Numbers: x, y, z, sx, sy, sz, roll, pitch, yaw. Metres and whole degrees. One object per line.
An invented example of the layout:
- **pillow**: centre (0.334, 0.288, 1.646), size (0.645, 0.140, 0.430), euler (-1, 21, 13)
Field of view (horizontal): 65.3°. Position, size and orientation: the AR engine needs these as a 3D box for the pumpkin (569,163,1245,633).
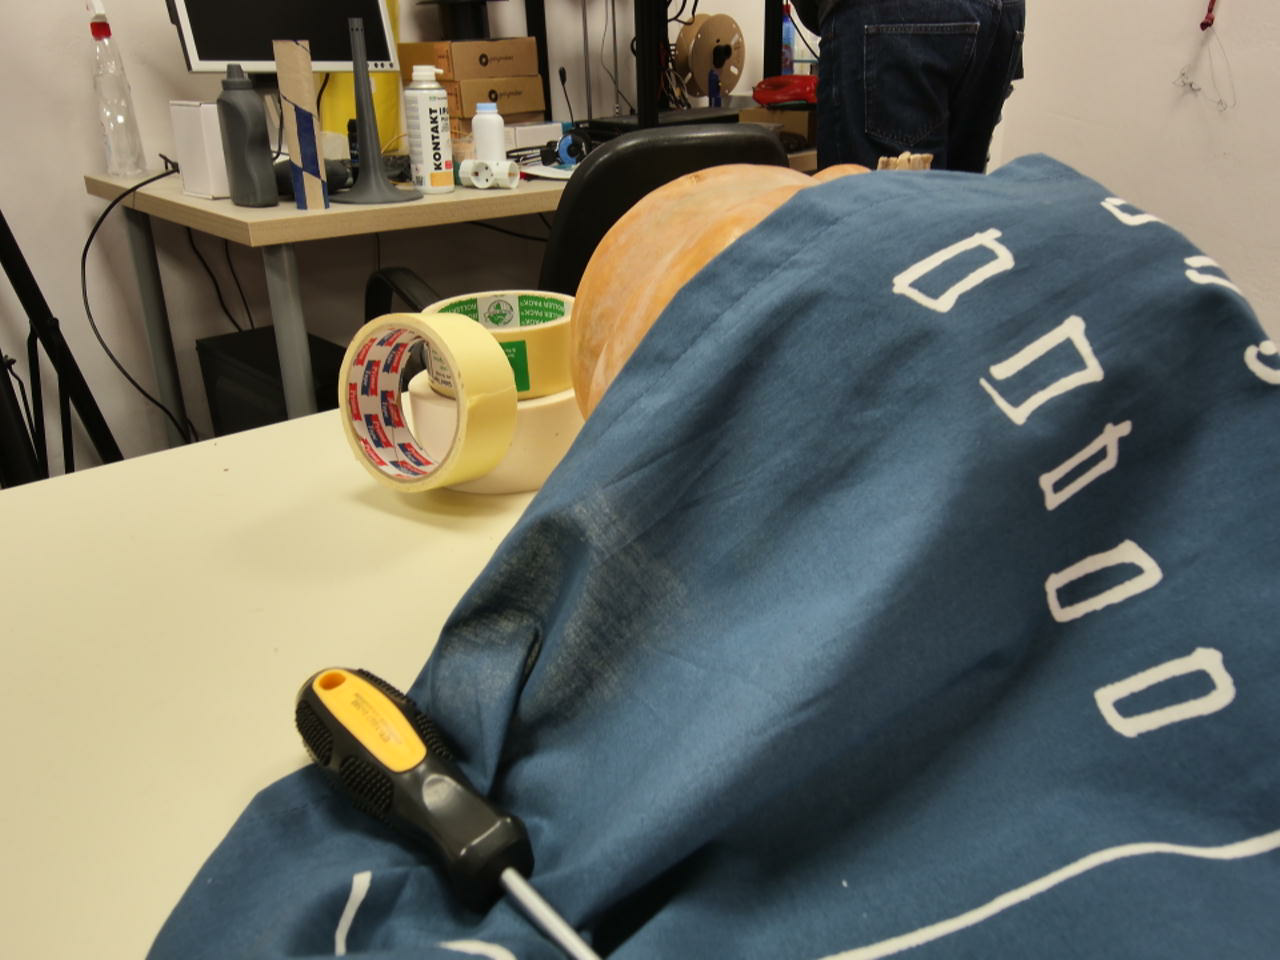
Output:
- **pumpkin**: centre (0.100, -0.045, 0.432), size (0.277, 0.181, 0.277), euler (0, 22, 0)
